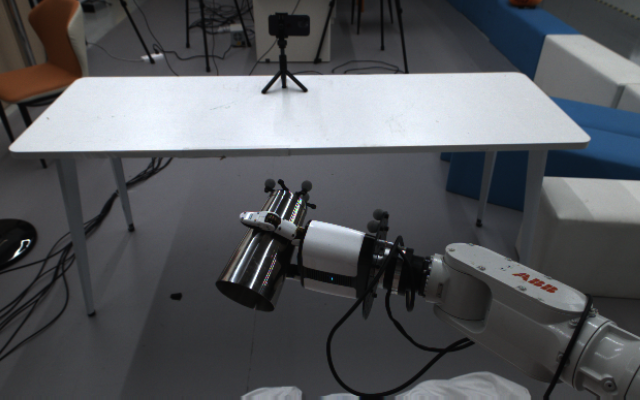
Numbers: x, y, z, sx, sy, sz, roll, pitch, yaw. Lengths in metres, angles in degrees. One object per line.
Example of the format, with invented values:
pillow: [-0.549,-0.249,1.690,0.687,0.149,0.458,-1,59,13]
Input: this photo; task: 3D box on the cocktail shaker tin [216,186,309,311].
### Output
cocktail shaker tin: [-0.081,0.069,0.730,0.093,0.093,0.170,14,58,16]
